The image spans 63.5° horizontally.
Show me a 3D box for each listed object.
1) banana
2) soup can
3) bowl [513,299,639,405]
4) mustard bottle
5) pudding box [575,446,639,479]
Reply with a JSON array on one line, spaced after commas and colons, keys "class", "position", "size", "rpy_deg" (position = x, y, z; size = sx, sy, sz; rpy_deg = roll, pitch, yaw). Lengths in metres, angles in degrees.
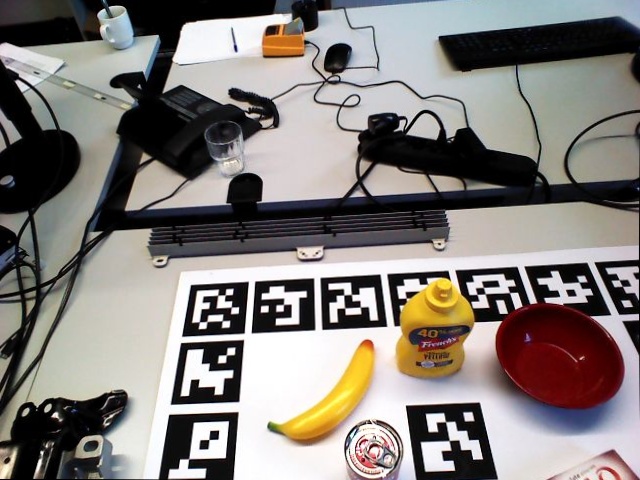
[{"class": "banana", "position": [0.030, 0.204, 0.719], "size": [0.074, 0.039, 0.196], "rpy_deg": [25, 55, 38]}, {"class": "soup can", "position": [0.070, 0.258, 0.612], "size": [0.068, 0.102, 0.067], "rpy_deg": [-2, 47, 2]}, {"class": "bowl", "position": [0.346, 0.161, 0.711], "size": [0.162, 0.055, 0.160], "rpy_deg": [-5, 48, 5]}, {"class": "mustard bottle", "position": [0.169, 0.106, 0.671], "size": [0.096, 0.192, 0.058], "rpy_deg": [-4, 46, 3]}, {"class": "pudding box", "position": [0.343, 0.305, 0.590], "size": [0.113, 0.039, 0.090], "rpy_deg": [-22, 55, -12]}]
